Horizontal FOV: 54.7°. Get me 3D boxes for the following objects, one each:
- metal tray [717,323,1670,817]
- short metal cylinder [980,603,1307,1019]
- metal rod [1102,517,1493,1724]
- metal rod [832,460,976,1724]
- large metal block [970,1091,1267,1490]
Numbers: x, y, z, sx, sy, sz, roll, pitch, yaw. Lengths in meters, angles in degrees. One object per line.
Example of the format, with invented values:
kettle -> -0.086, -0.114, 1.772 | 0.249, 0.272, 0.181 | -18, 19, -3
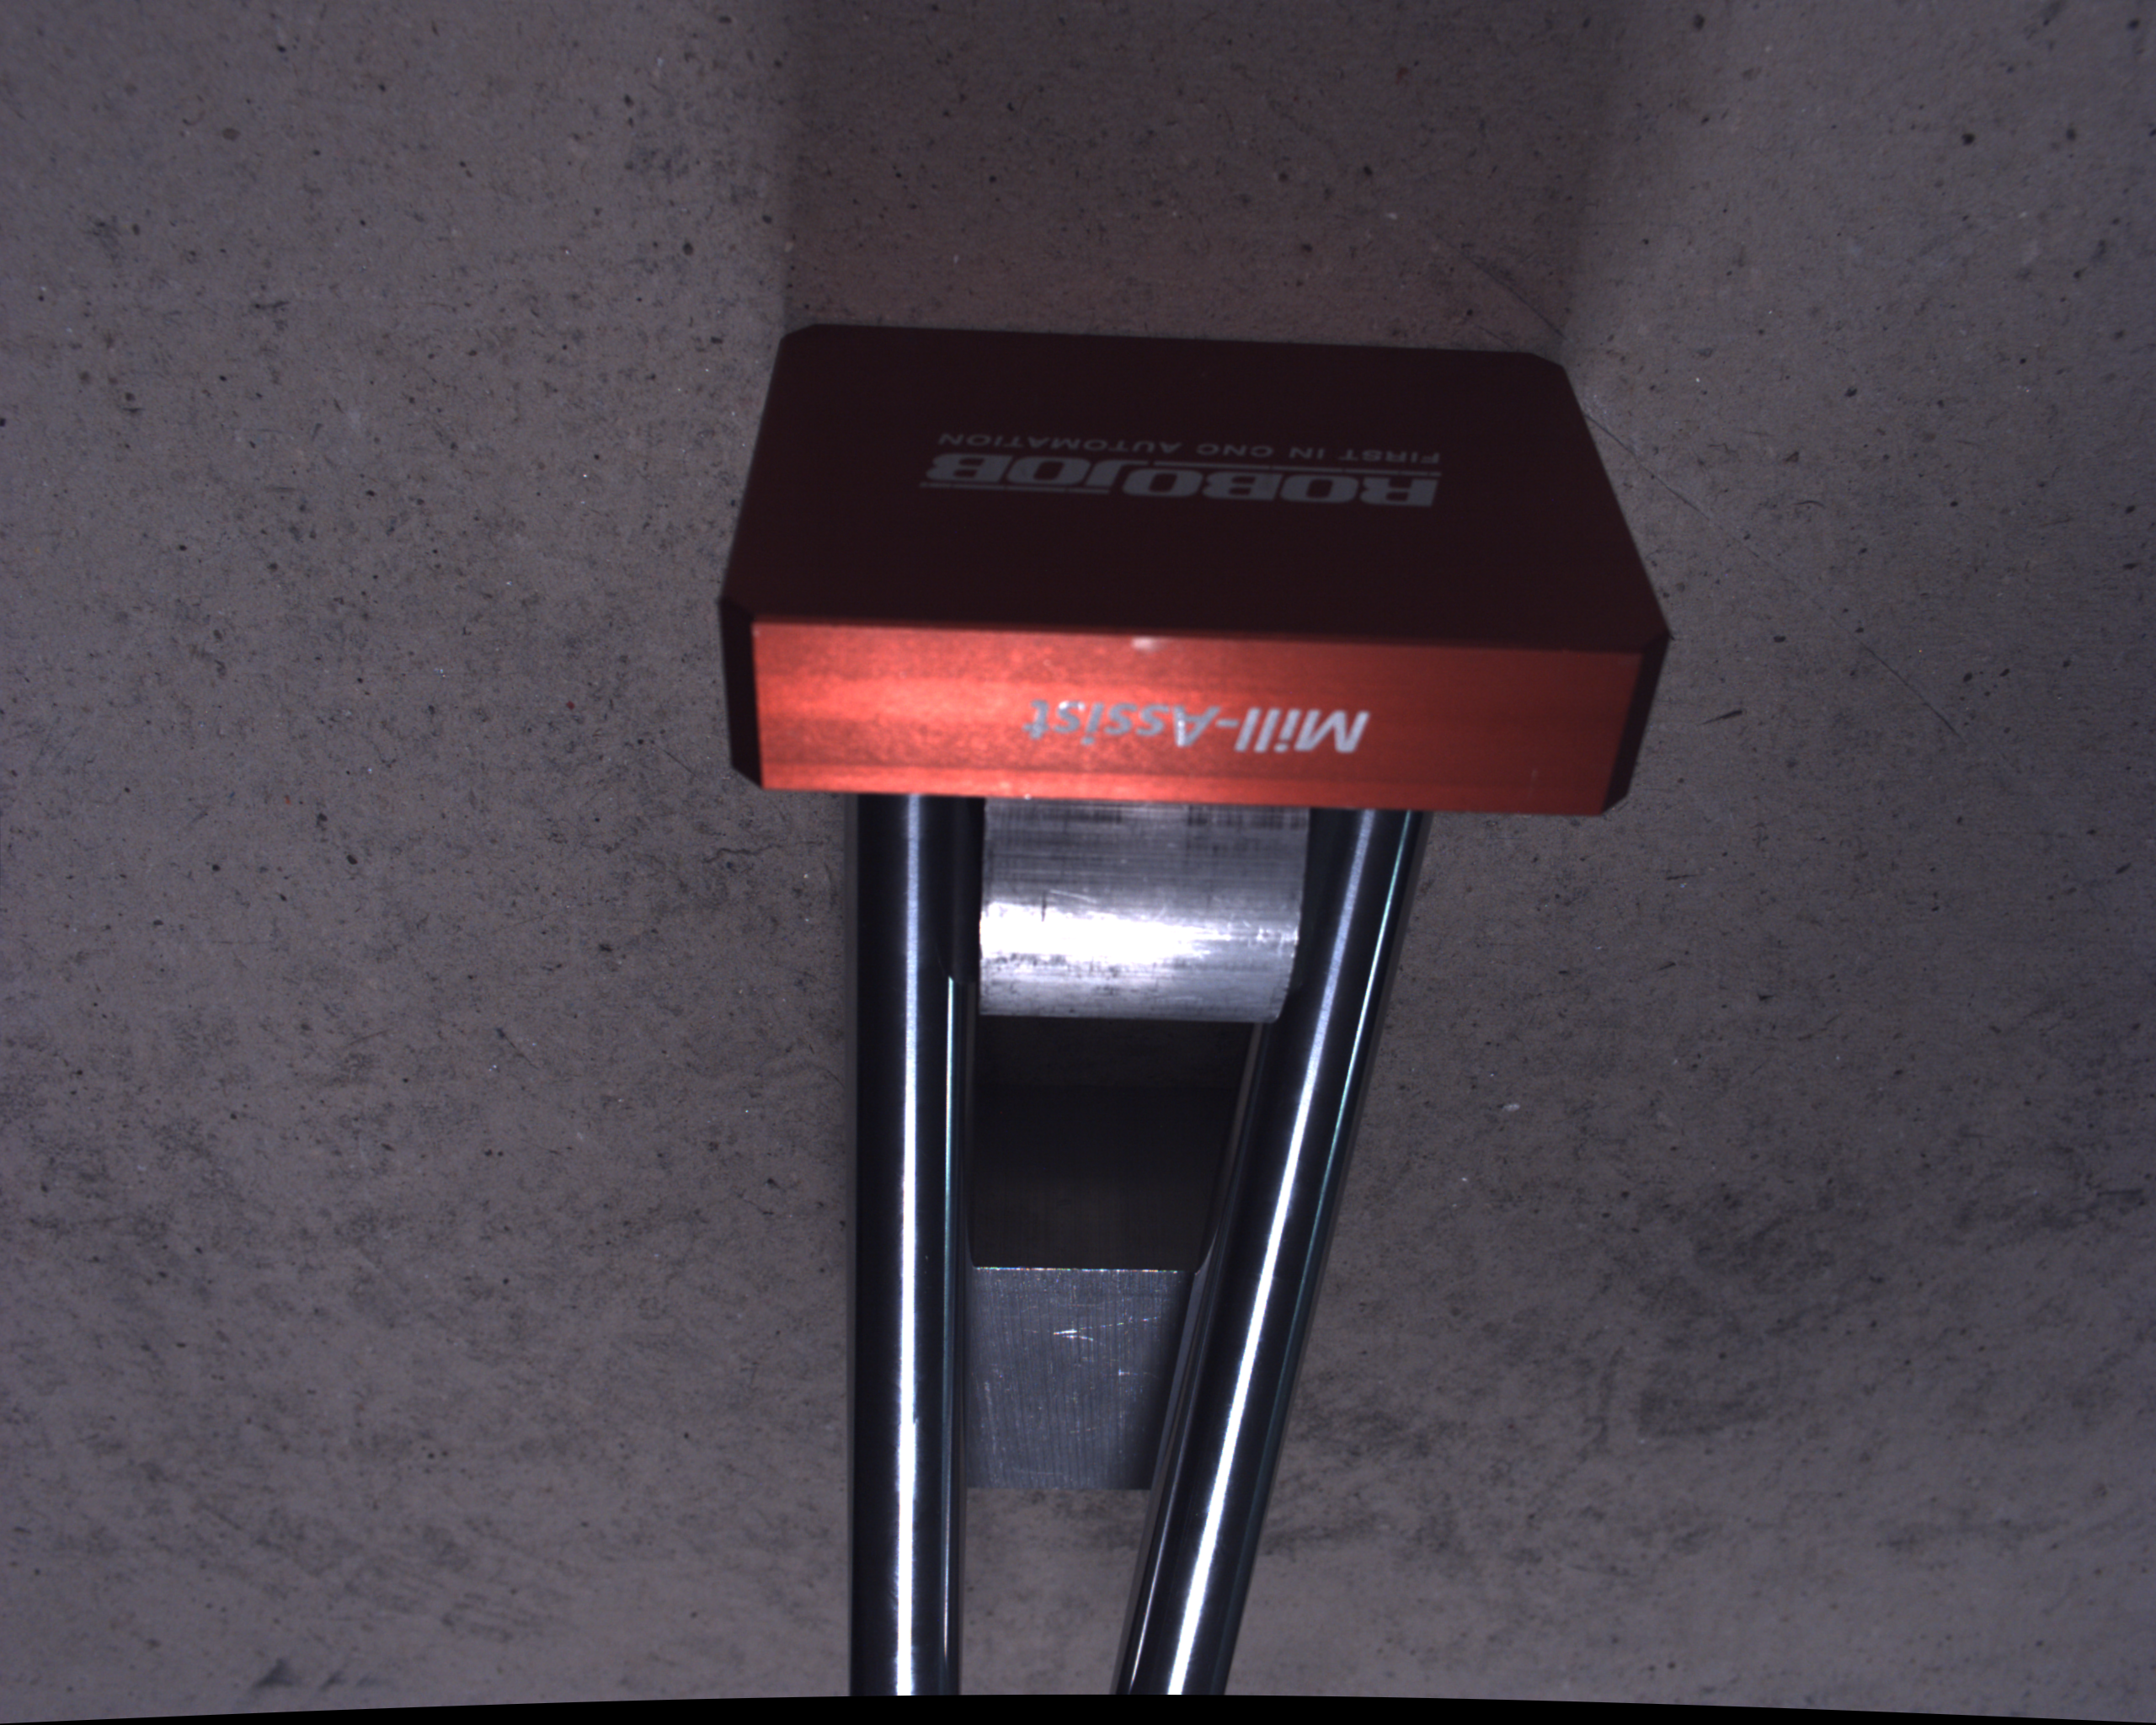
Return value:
metal tray -> 0.016, -0.048, 0.325 | 0.131, 0.090, 0.030 | 2, 130, -2
short metal cylinder -> 0.009, -0.013, 0.363 | 0.050, 0.080, 0.079 | 1, 130, -2
metal rod -> 0.037, 0.073, 0.410 | 0.025, 0.025, 0.298 | 6, 115, -6
metal rod -> -0.034, 0.070, 0.408 | 0.025, 0.025, 0.298 | 1, 115, -2
large metal block -> 0.001, 0.098, 0.473 | 0.081, 0.050, 0.079 | 1, 130, -2
